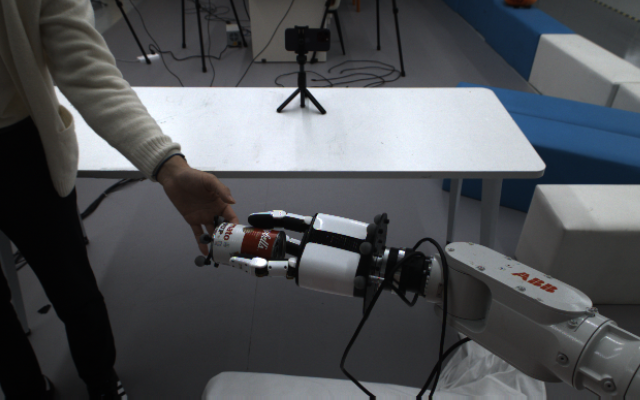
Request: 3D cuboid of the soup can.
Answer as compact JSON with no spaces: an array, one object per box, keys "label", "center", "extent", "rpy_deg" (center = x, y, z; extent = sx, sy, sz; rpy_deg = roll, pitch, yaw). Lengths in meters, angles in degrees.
[{"label":"soup can","center":[-0.110,0.077,0.755],"extent":[0.101,0.067,0.067],"rpy_deg":[7,35,12]}]
